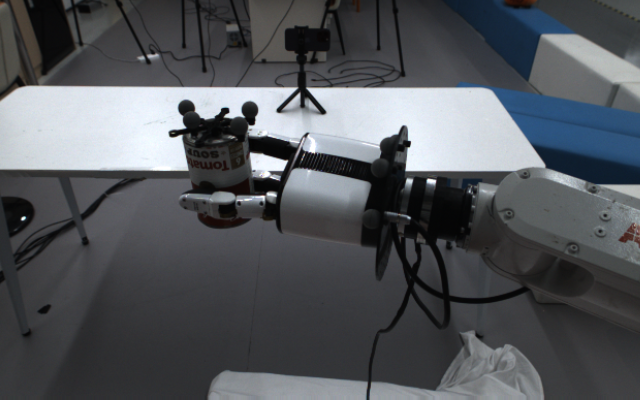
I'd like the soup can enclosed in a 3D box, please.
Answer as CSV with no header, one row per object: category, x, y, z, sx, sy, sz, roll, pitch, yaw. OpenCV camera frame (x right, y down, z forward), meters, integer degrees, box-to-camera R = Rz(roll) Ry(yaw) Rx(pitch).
soup can,-0.105,-0.030,0.527,0.067,0.101,0.067,-2,34,1
